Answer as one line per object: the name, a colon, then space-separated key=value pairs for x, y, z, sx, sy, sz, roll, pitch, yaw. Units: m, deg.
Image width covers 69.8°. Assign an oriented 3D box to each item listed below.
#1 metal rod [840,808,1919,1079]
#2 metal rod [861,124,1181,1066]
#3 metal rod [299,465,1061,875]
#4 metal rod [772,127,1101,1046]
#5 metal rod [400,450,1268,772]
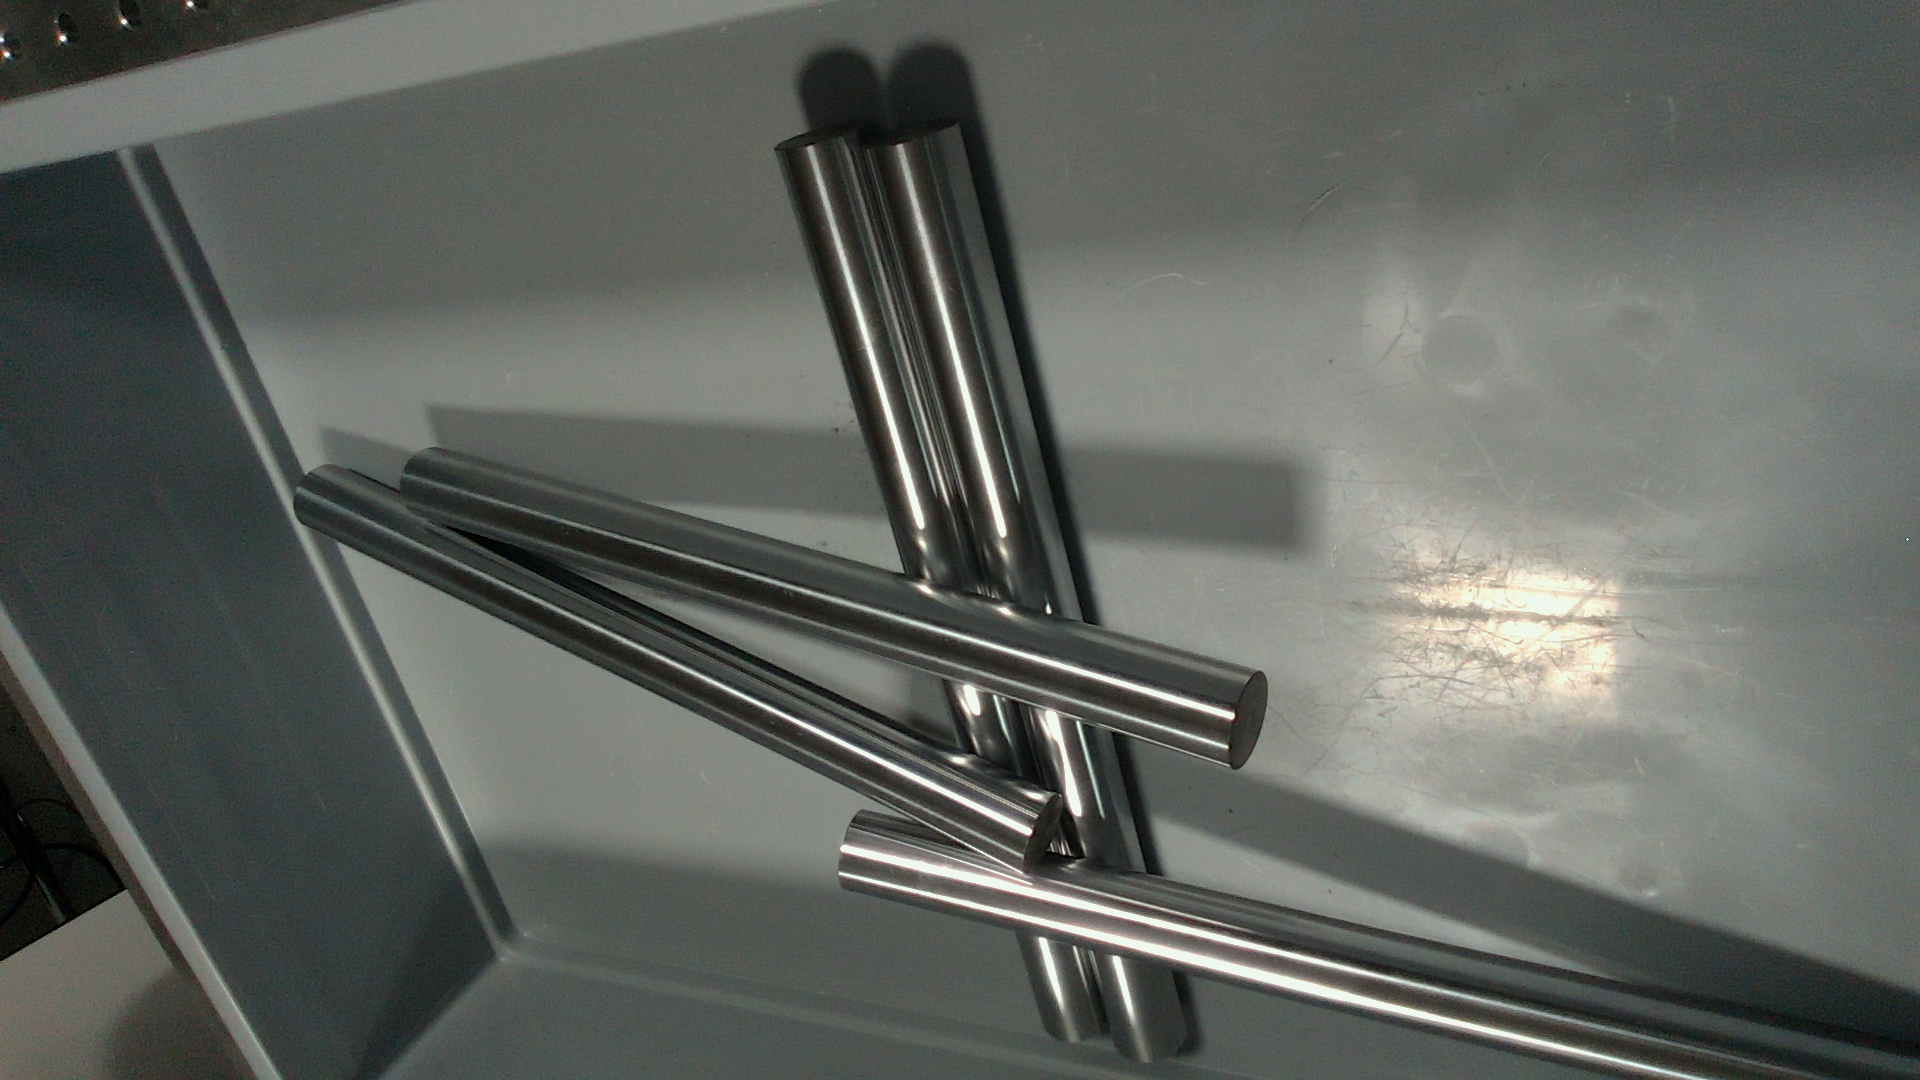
metal rod: x=0.109 y=0.120 z=0.385 sx=0.299 sy=0.025 sz=0.025 roll=10 pitch=123 yaw=17
metal rod: x=0.025 y=0.034 z=0.397 sx=0.025 sy=0.025 sz=0.300 roll=-1 pitch=118 yaw=29
metal rod: x=-0.105 y=0.034 z=0.453 sx=0.299 sy=0.025 sz=0.025 roll=21 pitch=127 yaw=22
metal rod: x=0.002 y=0.031 z=0.408 sx=0.025 sy=0.025 sz=0.300 roll=-1 pitch=118 yaw=29
metal rod: x=-0.057 y=0.012 z=0.404 sx=0.299 sy=0.025 sz=0.025 roll=14 pitch=125 yaw=29
